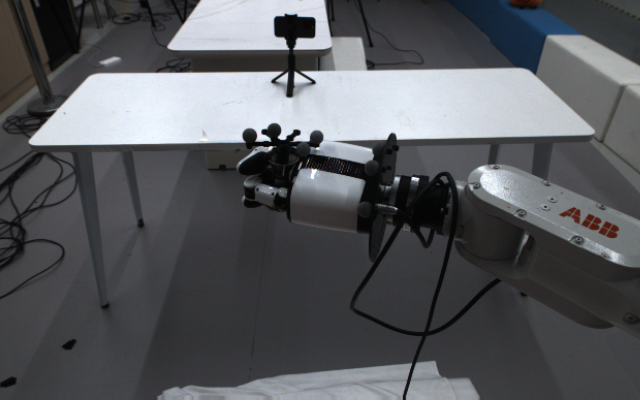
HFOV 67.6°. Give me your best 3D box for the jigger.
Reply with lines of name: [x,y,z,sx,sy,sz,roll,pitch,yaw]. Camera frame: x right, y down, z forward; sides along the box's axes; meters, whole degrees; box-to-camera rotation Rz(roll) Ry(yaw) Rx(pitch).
jigger: [-0.045,-0.025,0.620,0.043,0.071,0.043,4,31,-2]
